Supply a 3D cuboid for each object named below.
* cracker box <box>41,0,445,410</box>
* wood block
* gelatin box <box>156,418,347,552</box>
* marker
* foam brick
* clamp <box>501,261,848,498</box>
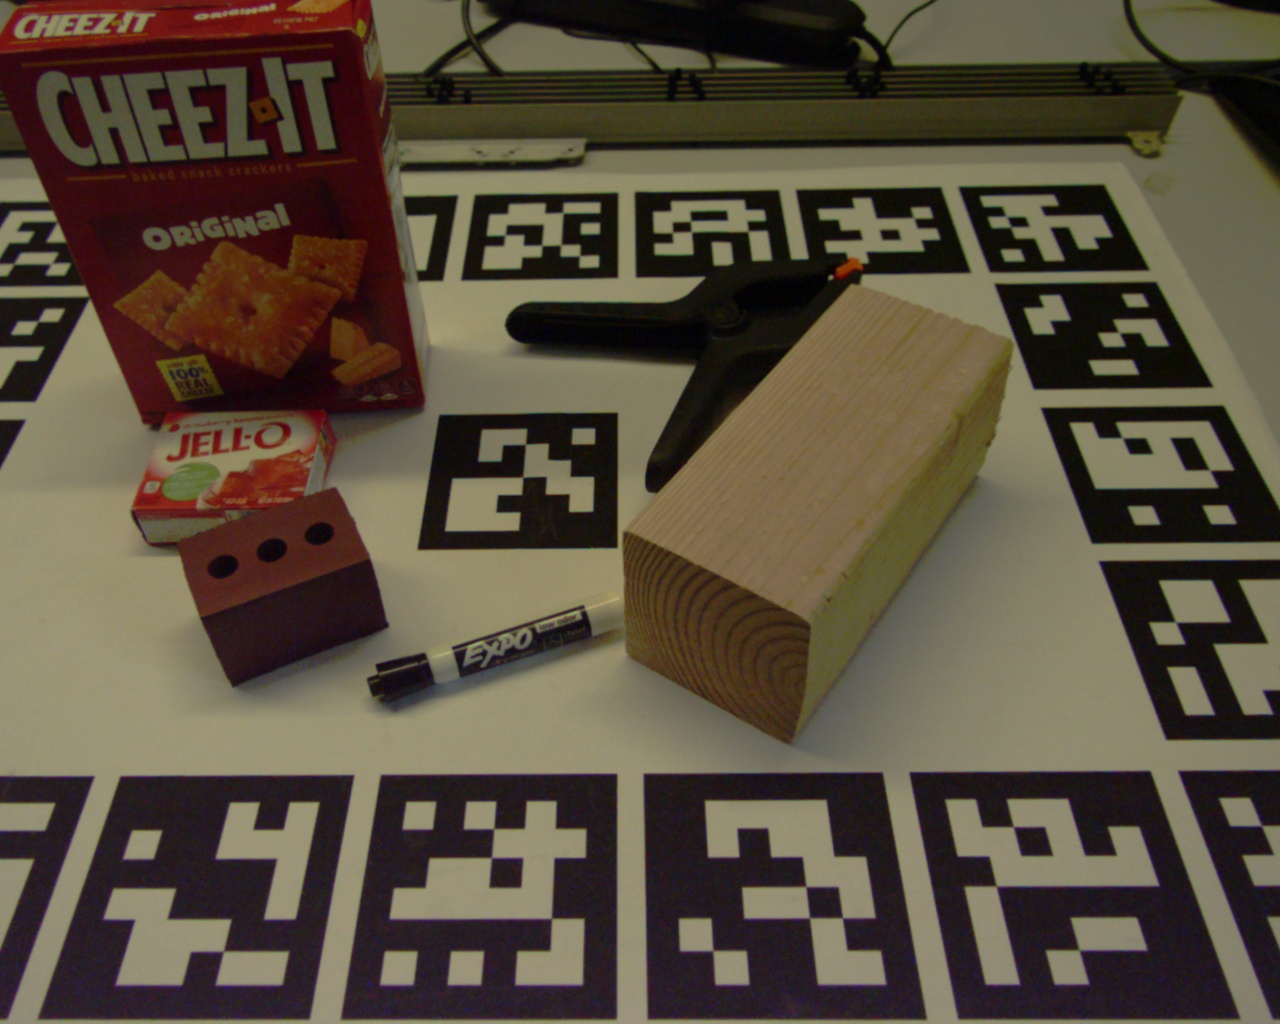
[{"bbox_3d":[-0.199,-0.156,0.618,0.164,0.213,0.072,-2,48,-3],"label":"cracker box"},{"bbox_3d":[0.082,-0.004,0.567,0.091,0.090,0.205,25,52,25],"label":"wood block"},{"bbox_3d":[-0.211,-0.016,0.627,0.089,0.030,0.073,-2,51,1],"label":"gelatin box"},{"bbox_3d":[-0.079,0.068,0.550,0.120,0.019,0.020,-17,52,-12],"label":"marker"},{"bbox_3d":[-0.169,0.037,0.562,0.077,0.051,0.053,-20,53,-15],"label":"foam brick"},{"bbox_3d":[0.042,-0.102,0.684,0.201,0.036,0.167,-26,54,-18],"label":"clamp"}]
